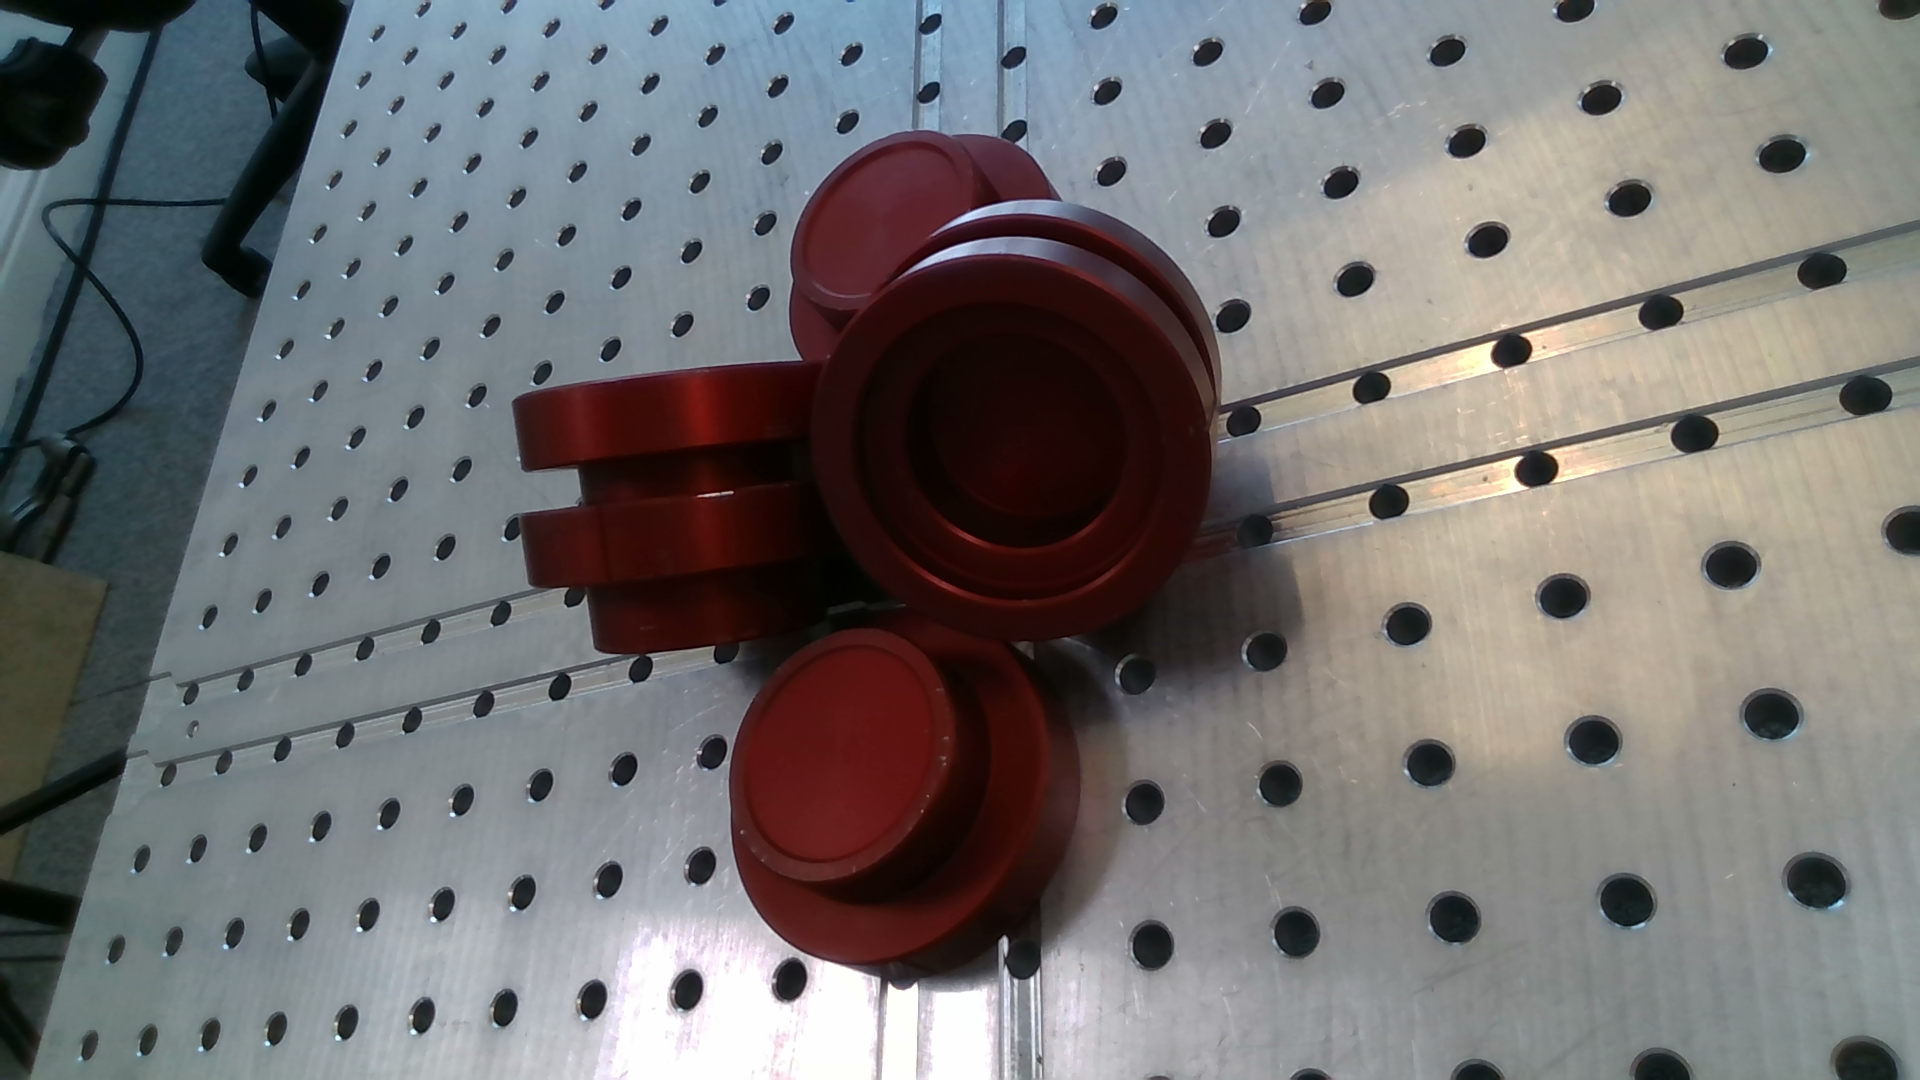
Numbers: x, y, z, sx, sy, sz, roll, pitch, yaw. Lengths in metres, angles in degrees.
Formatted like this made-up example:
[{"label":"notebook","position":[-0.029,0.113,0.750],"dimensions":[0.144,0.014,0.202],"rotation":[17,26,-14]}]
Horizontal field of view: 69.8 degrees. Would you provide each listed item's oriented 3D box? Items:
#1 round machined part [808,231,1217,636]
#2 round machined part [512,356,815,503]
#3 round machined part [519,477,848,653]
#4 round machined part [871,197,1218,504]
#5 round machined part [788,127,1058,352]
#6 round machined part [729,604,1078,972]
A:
[{"label":"round machined part","position":[0.015,-0.029,0.346],"dimensions":[0.098,0.098,0.042],"rotation":[-20,17,22]},{"label":"round machined part","position":[-0.078,-0.026,0.405],"dimensions":[0.098,0.098,0.042],"rotation":[-5,95,30]},{"label":"round machined part","position":[-0.076,0.006,0.404],"dimensions":[0.098,0.098,0.042],"rotation":[-4,95,30]},{"label":"round machined part","position":[0.021,-0.044,0.374],"dimensions":[0.098,0.098,0.042],"rotation":[-20,17,22]},{"label":"round machined part","position":[-0.015,-0.092,0.442],"dimensions":[0.098,0.042,0.098],"rotation":[-14,59,25]},{"label":"round machined part","position":[-0.022,0.062,0.366],"dimensions":[0.098,0.042,0.098],"rotation":[-14,59,25]}]
